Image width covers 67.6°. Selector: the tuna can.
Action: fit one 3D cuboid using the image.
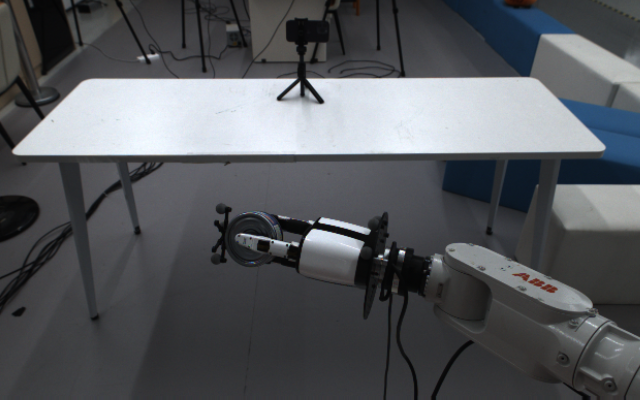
[{"bbox_3d":[-0.101,0.059,0.745,0.085,0.085,0.034,10,3,11],"label":"tuna can"}]
